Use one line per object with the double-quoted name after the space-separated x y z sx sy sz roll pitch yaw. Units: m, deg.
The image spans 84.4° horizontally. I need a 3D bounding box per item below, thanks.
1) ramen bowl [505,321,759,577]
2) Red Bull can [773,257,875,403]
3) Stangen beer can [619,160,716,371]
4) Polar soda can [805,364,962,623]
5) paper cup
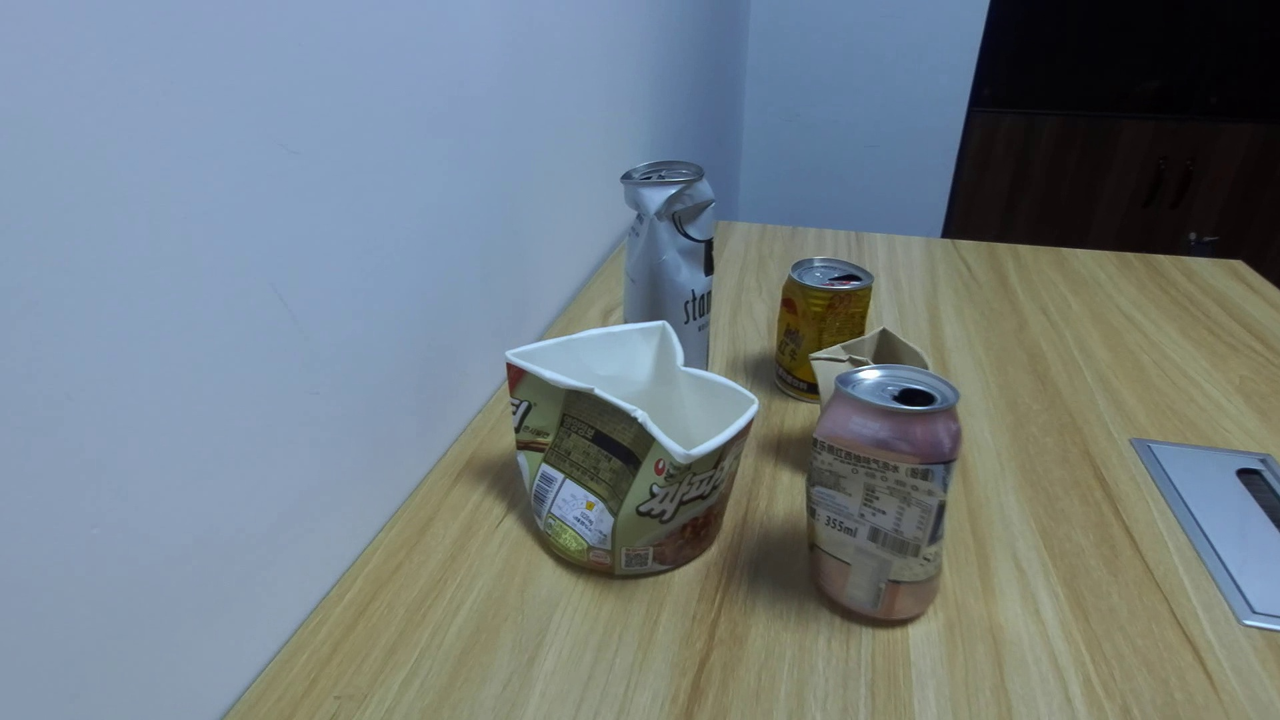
-0.003 0.051 0.392 0.112 0.093 0.127 -14 34 -23 "ramen bowl"
0.136 -0.021 0.519 0.072 0.092 0.072 1 25 0 "Red Bull can"
0.018 -0.052 0.500 0.066 0.166 0.065 -23 37 -29 "Stangen beer can"
0.119 0.063 0.349 0.066 0.122 0.071 10 29 27 "Polar soda can"
0.136 0.033 0.435 0.058 0.083 0.066 -7 31 -12 "paper cup"
